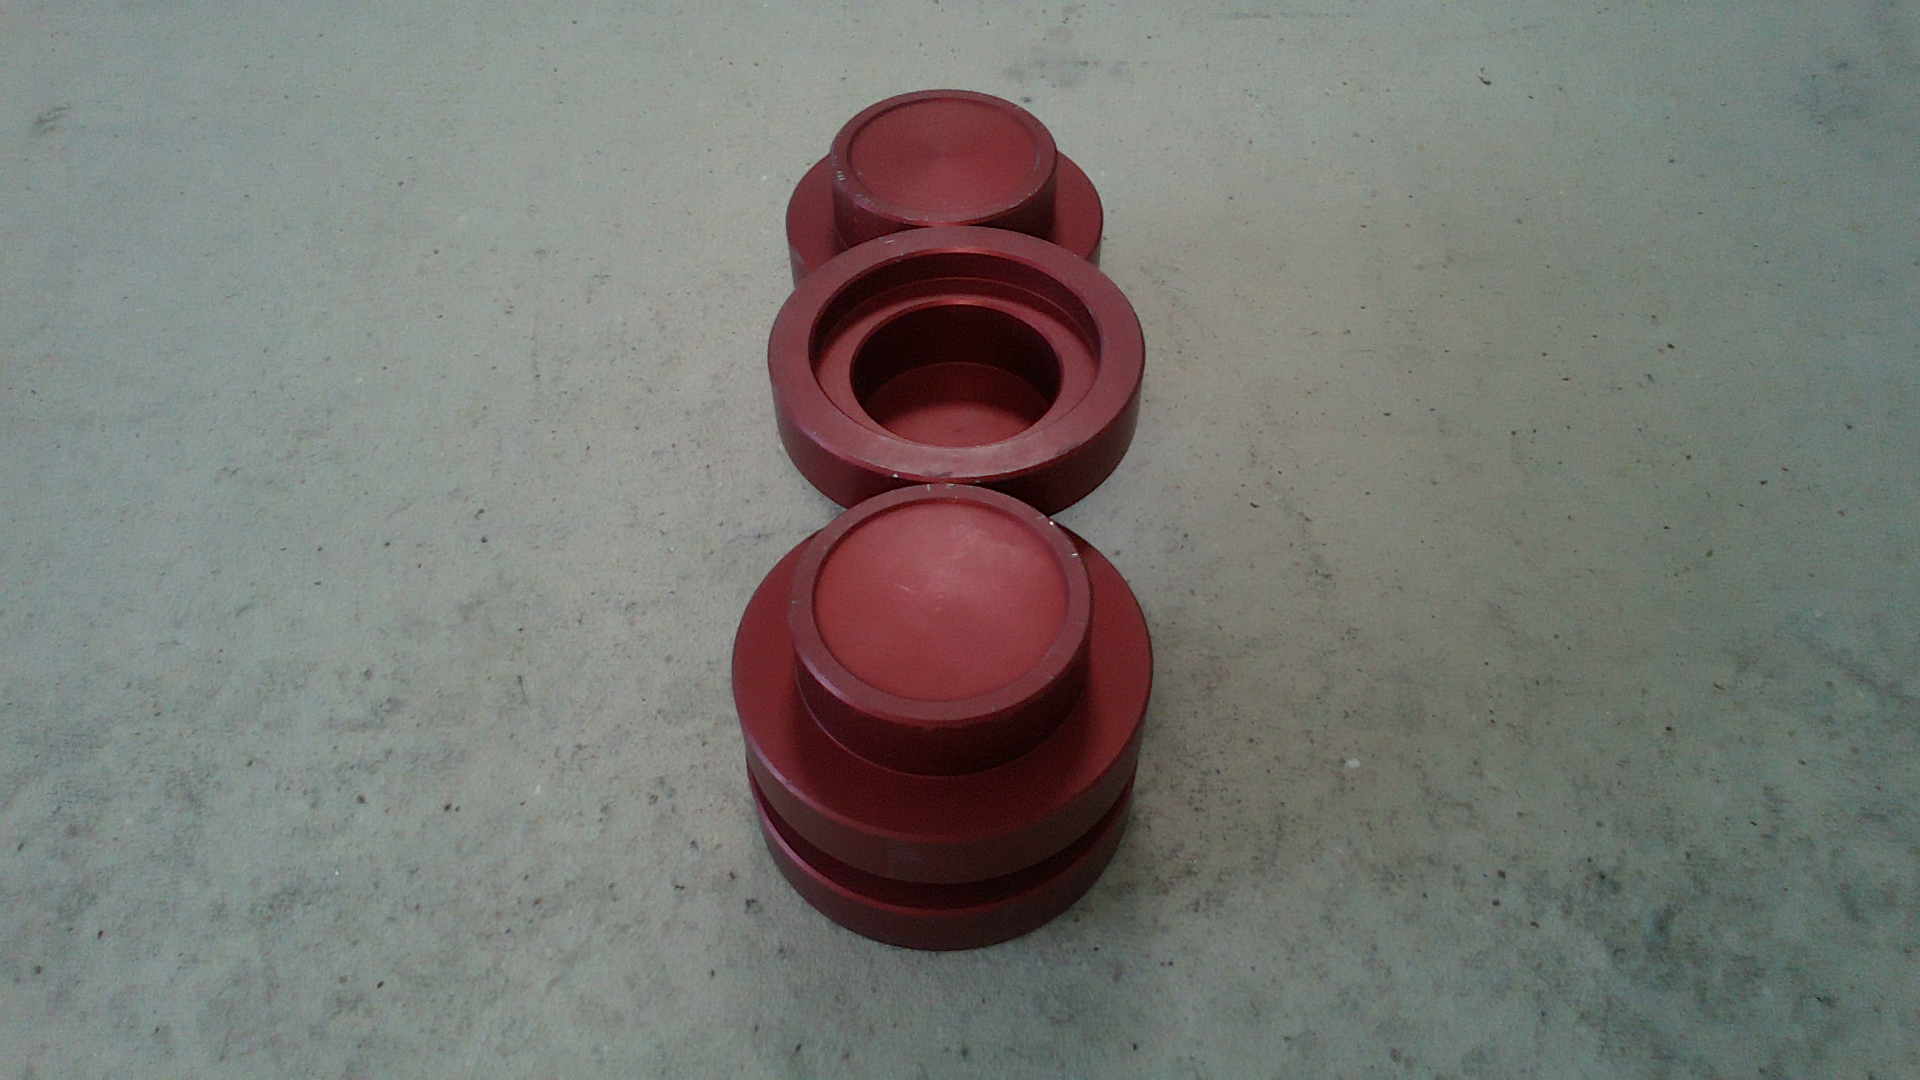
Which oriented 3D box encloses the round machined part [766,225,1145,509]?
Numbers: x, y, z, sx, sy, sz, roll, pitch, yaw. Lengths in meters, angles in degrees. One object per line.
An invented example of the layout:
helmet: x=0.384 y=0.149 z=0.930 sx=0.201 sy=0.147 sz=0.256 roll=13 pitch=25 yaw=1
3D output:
round machined part: x=-0.001 y=-0.038 z=0.371 sx=0.098 sy=0.042 sz=0.098 roll=0 pitch=50 yaw=0

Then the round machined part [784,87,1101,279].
round machined part: x=-0.005 y=-0.103 z=0.424 sx=0.098 sy=0.042 sz=0.098 roll=-1 pitch=50 yaw=1

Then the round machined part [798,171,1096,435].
round machined part: x=-0.004 y=-0.084 z=0.451 sx=0.098 sy=0.042 sz=0.098 roll=-1 pitch=50 yaw=1

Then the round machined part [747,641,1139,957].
round machined part: x=-0.004 y=0.048 z=0.341 sx=0.098 sy=0.042 sz=0.098 roll=0 pitch=49 yaw=1

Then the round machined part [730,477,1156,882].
round machined part: x=-0.004 y=0.024 z=0.316 sx=0.098 sy=0.042 sz=0.098 roll=-1 pitch=50 yaw=1
